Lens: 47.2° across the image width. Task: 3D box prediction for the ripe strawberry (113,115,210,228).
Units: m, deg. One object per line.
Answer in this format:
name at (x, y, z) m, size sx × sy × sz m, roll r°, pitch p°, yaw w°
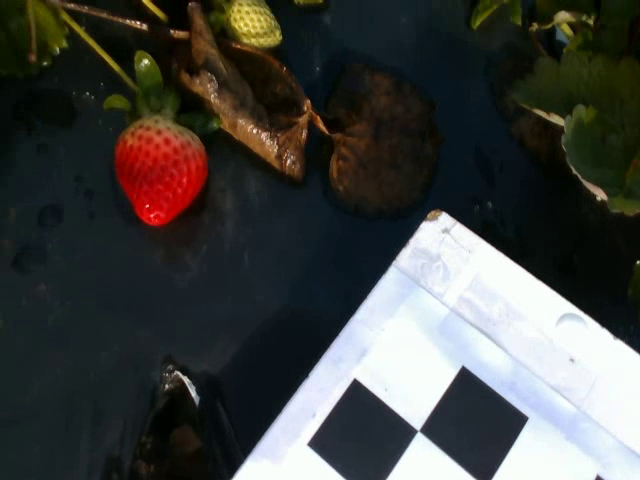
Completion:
ripe strawberry at (-0.056, -0.023, 0.236) m, size 0.035 × 0.043 × 0.030 m, roll 1°, pitch -19°, yaw -4°
